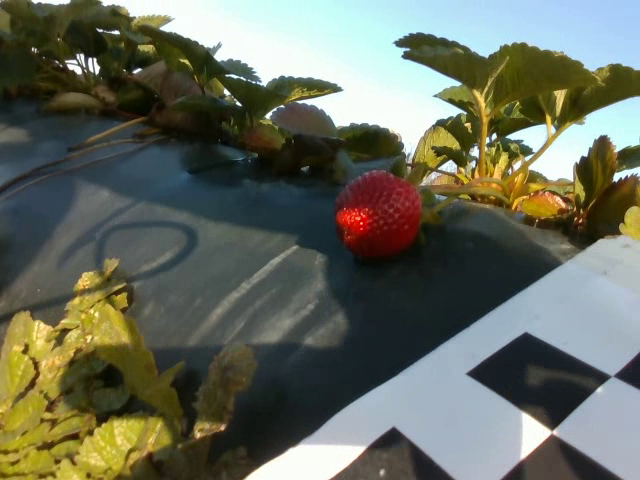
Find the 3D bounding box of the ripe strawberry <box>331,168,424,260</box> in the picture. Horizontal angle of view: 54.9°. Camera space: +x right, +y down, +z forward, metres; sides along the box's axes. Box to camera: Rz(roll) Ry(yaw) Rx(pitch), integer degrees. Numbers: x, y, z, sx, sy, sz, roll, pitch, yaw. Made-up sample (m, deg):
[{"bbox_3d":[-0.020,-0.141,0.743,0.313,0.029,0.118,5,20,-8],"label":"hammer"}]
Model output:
[{"bbox_3d":[0.018,-0.009,0.222,0.040,0.037,0.044,14,24,30],"label":"ripe strawberry"}]
